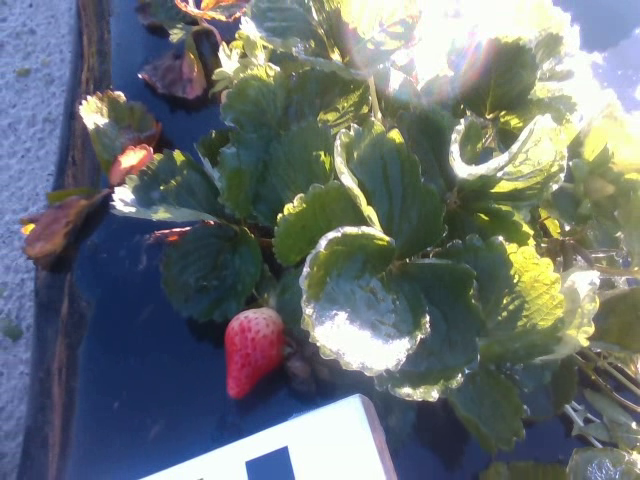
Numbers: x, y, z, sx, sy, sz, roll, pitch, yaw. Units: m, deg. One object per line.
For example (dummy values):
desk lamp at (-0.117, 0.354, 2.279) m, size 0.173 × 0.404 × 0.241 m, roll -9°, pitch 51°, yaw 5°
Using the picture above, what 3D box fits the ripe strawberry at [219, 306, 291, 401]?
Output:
ripe strawberry at (-0.050, 0.068, 0.377) m, size 0.040 × 0.065 × 0.040 m, roll 16°, pitch -16°, yaw 28°
